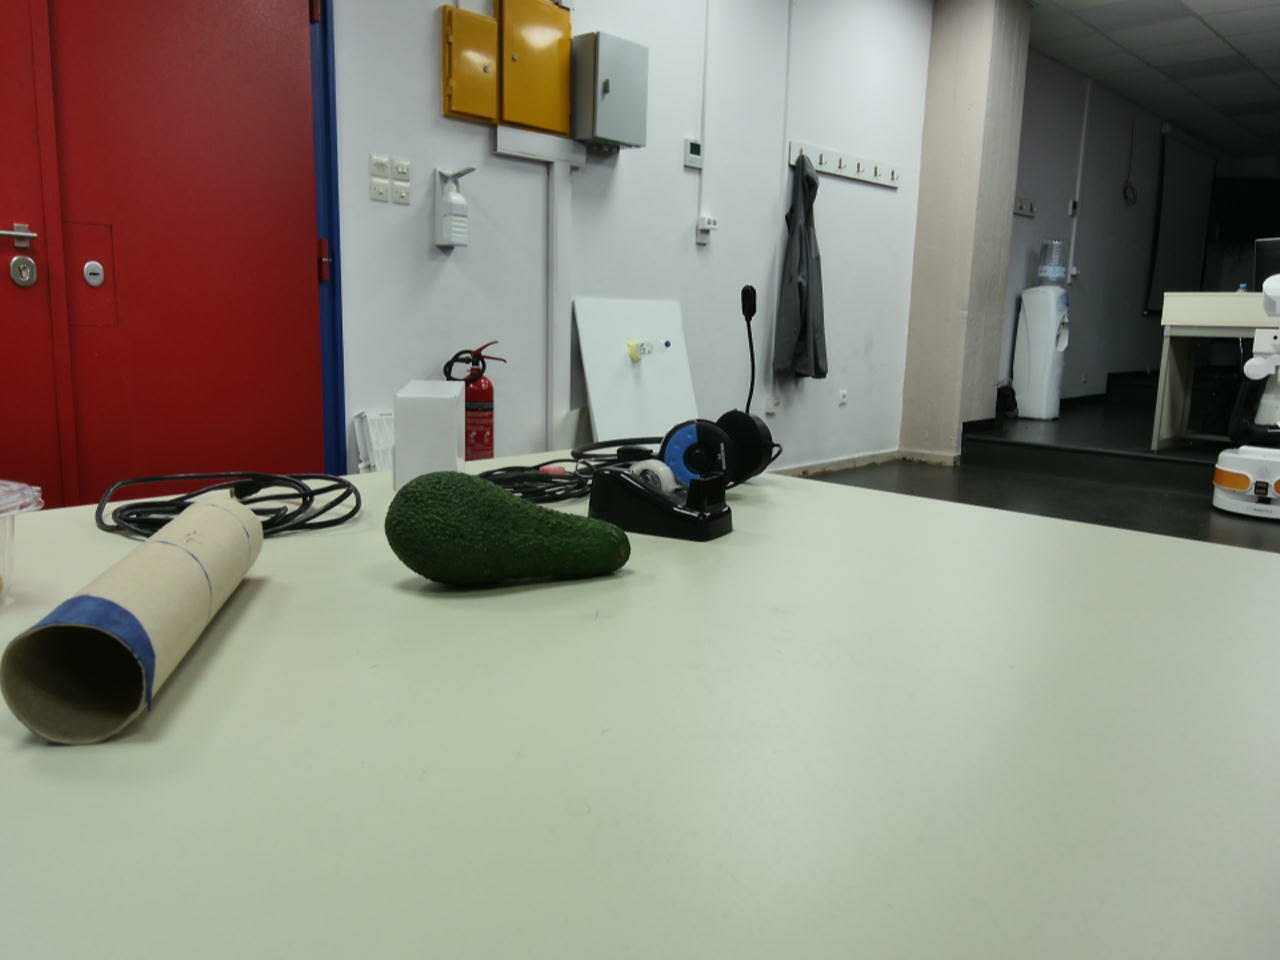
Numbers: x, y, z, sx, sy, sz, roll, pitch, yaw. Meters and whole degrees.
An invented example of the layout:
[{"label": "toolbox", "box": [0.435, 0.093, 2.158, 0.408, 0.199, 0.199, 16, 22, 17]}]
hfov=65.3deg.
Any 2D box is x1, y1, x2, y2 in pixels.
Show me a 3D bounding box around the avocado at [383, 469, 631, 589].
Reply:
[{"label": "avocado", "box": [-0.076, 0.025, 0.577, 0.141, 0.067, 0.063, -5, 9, -33]}]
